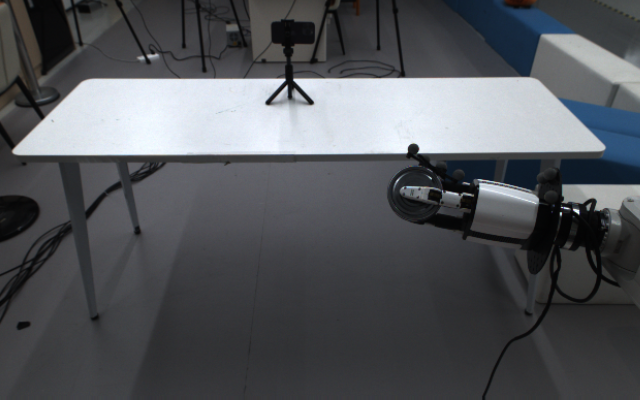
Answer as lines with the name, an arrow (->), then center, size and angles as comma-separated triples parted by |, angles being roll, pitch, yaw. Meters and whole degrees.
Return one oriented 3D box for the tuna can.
tuna can -> 0.150, -0.003, 0.744 | 0.085, 0.085, 0.034 | 13, -5, 15
